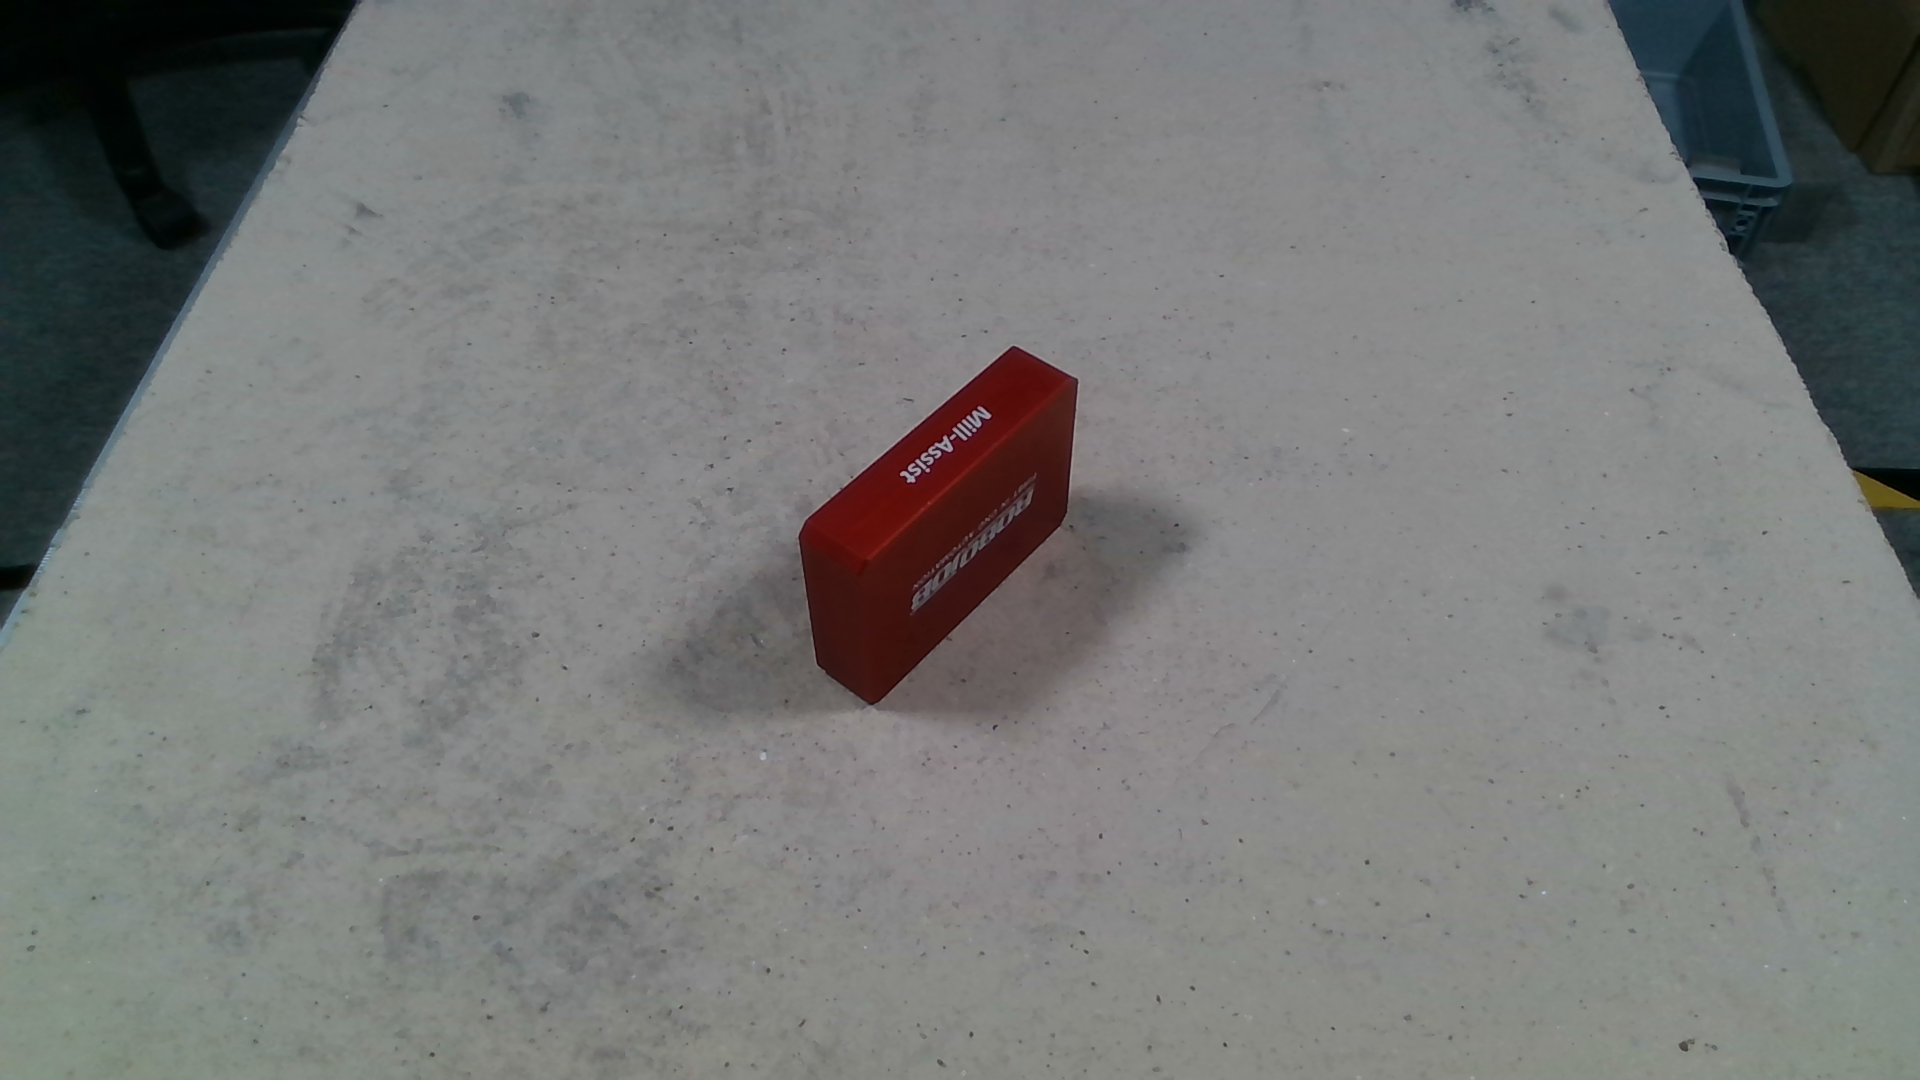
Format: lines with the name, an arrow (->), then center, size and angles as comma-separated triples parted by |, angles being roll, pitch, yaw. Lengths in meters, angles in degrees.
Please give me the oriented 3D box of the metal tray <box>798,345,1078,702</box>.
metal tray -> -0.006, -0.007, 0.550 | 0.030, 0.090, 0.130 | 32, 57, 24
